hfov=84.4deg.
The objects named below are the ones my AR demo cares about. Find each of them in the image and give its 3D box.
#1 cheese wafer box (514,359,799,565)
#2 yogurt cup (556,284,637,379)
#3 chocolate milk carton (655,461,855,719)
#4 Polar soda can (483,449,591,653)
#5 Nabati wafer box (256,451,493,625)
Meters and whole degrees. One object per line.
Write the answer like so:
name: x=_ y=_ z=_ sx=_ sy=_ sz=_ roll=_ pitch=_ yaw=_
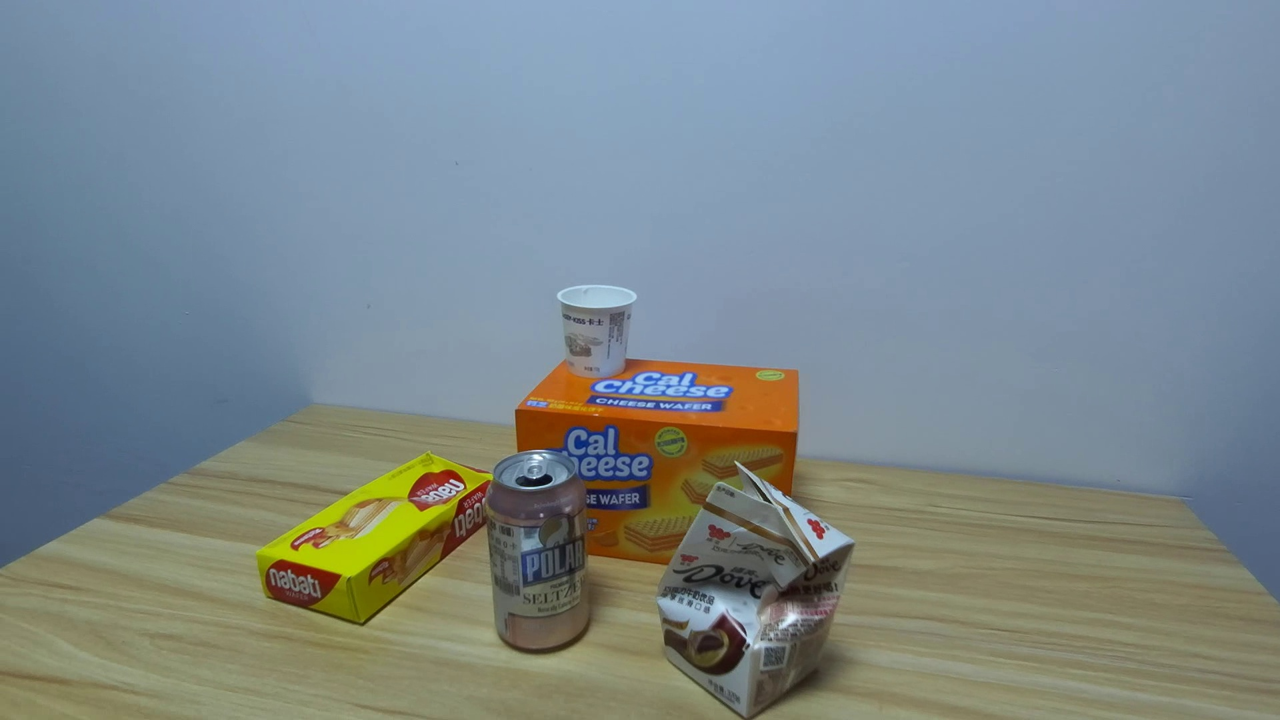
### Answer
cheese wafer box: x=0.024 y=0.084 z=0.616 sx=0.221 sy=0.129 sz=0.148 roll=4 pitch=19 yaw=12
yogurt cup: x=-0.039 y=-0.024 z=0.627 sx=0.072 sy=0.068 sz=0.072 roll=2 pitch=20 yaw=0
chocolate milk carton: x=0.070 y=0.136 z=0.429 sx=0.077 sy=0.155 sz=0.089 roll=-23 pitch=43 yaw=-40
Polar soda can: x=-0.069 y=0.129 z=0.481 sx=0.067 sy=0.125 sz=0.067 roll=0 pitch=17 yaw=0
Nabati wafer box: x=-0.201 y=0.136 z=0.591 sx=0.096 sy=0.042 sz=0.204 roll=5 pitch=18 yaw=23
